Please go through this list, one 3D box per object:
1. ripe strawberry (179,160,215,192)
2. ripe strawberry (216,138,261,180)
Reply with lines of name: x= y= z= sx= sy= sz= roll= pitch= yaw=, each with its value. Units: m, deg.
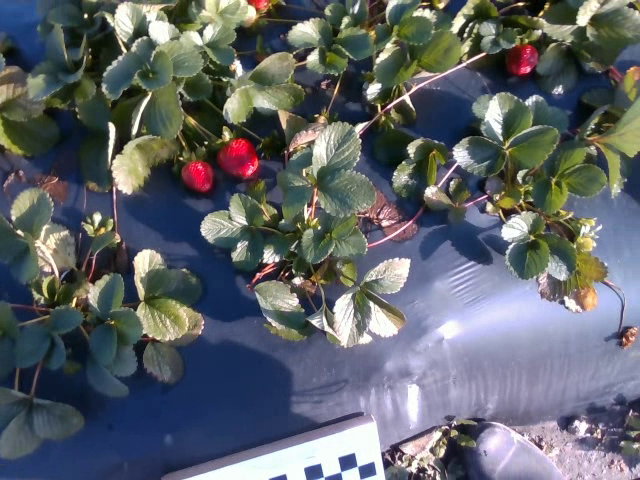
ripe strawberry: x=-0.145 y=-0.073 z=0.706 sx=0.052 sy=0.043 sz=0.036 roll=45 pitch=18 yaw=26
ripe strawberry: x=-0.095 y=-0.096 z=0.714 sx=0.052 sy=0.058 sz=0.046 roll=-44 pitch=-27 yaw=12
